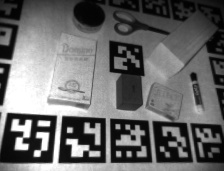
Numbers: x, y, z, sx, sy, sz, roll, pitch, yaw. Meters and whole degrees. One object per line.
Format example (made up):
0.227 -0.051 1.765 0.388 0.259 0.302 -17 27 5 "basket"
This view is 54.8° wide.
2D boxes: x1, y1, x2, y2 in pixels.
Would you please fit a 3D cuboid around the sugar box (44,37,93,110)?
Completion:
-0.105 -0.031 0.536 0.093 0.045 0.176 11 67 -14 "sugar box"

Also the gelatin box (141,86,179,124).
0.130 0.052 0.584 0.090 0.030 0.073 24 66 -7 "gelatin box"

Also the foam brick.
0.033 0.028 0.547 0.053 0.051 0.078 8 69 -13 "foam brick"

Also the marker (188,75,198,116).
0.235 0.027 0.630 0.020 0.019 0.121 8 70 -14 "marker"

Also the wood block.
0.208 -0.113 0.642 0.090 0.090 0.207 46 63 5 "wood block"

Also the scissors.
0.087 -0.172 0.664 0.204 0.016 0.087 12 67 -10 "scissors"

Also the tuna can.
-0.078 -0.186 0.605 0.086 0.033 0.085 6 69 -15 "tuna can"
